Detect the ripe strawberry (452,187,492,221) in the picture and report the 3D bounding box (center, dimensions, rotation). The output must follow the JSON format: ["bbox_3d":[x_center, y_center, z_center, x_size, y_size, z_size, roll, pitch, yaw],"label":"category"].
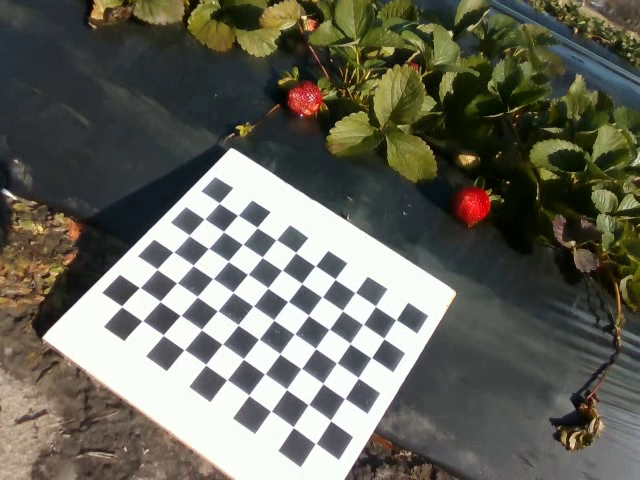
[{"bbox_3d":[0.145,-0.036,0.606,0.043,0.042,0.050,-31,-22,22],"label":"ripe strawberry"}]

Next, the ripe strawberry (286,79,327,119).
[{"bbox_3d":[-0.021,-0.151,0.651,0.042,0.043,0.053,45,21,11],"label":"ripe strawberry"}]
